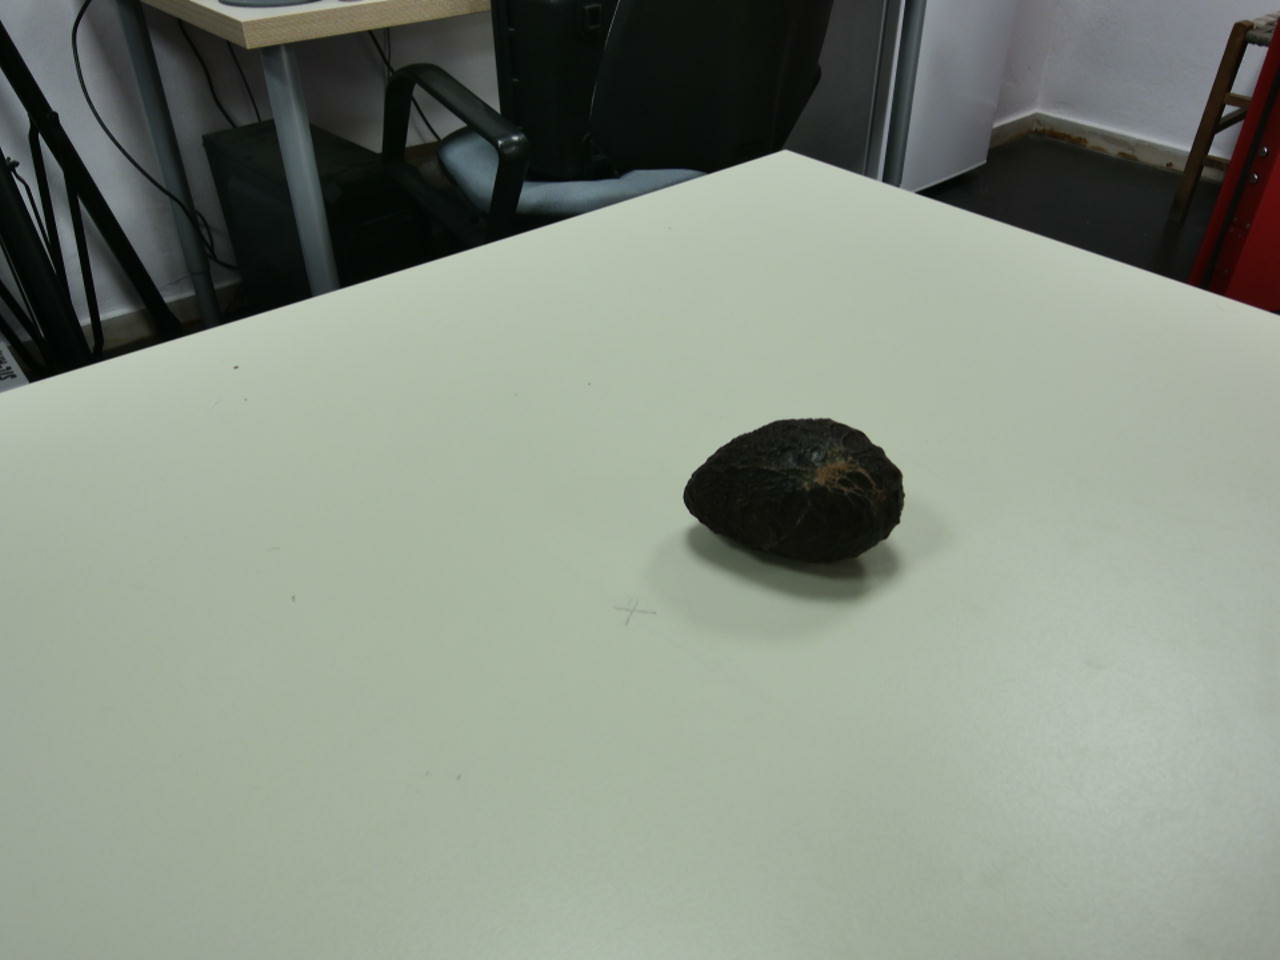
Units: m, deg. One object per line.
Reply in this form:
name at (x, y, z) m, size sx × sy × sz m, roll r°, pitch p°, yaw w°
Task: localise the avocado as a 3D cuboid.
avocado at (0.067, 0.003, 0.432) m, size 0.092 × 0.062 × 0.062 m, roll 18°, pitch 39°, yaw 23°
